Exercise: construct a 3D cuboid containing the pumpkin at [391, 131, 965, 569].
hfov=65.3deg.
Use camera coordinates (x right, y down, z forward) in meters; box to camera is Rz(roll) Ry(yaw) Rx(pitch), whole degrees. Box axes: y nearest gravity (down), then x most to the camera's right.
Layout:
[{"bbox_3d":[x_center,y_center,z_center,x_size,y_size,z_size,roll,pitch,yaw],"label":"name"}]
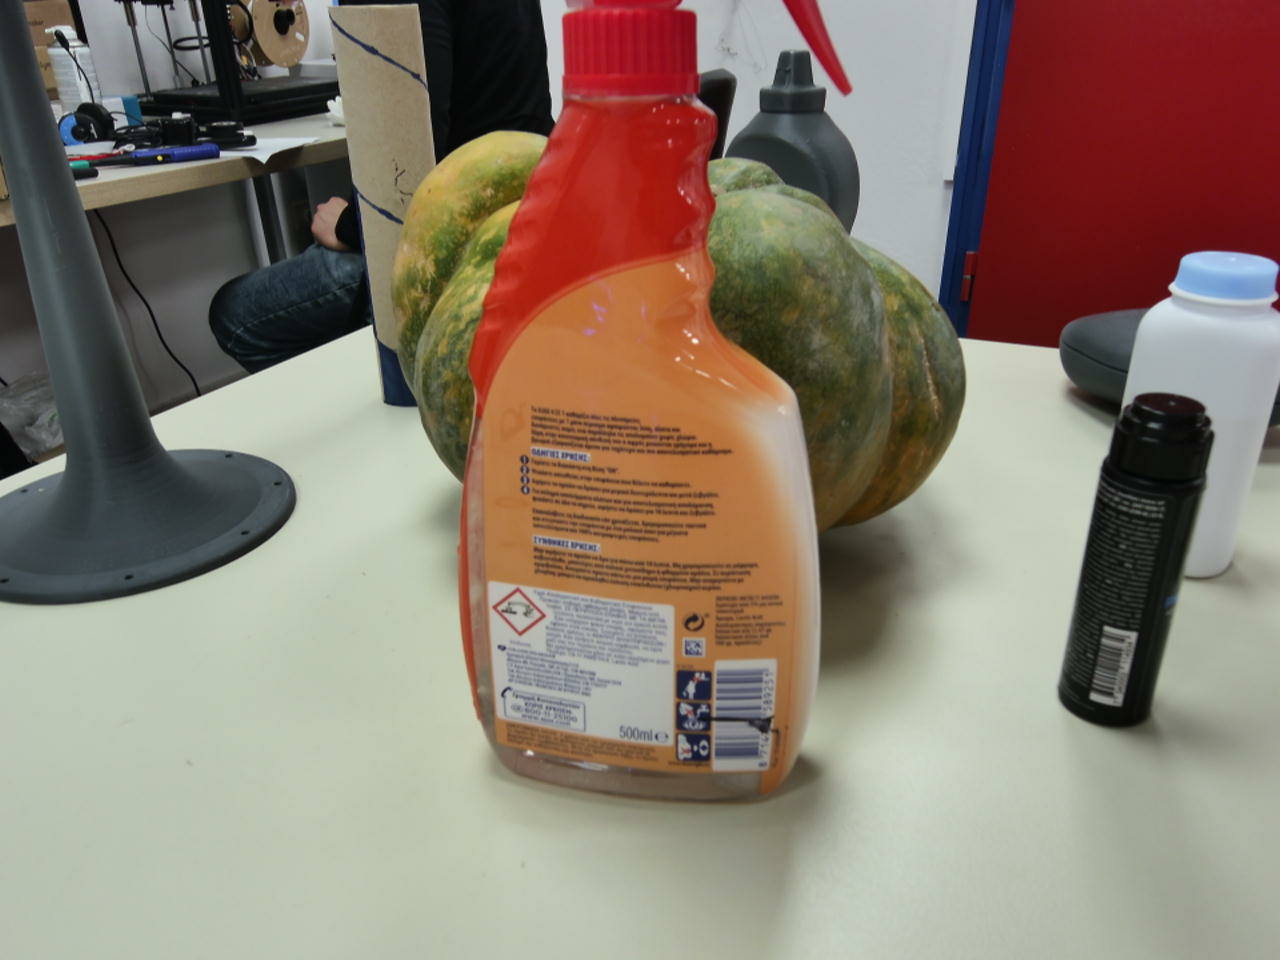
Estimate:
[{"bbox_3d":[0.014,-0.065,0.454,0.237,0.173,0.270,-12,26,-25],"label":"pumpkin"}]
